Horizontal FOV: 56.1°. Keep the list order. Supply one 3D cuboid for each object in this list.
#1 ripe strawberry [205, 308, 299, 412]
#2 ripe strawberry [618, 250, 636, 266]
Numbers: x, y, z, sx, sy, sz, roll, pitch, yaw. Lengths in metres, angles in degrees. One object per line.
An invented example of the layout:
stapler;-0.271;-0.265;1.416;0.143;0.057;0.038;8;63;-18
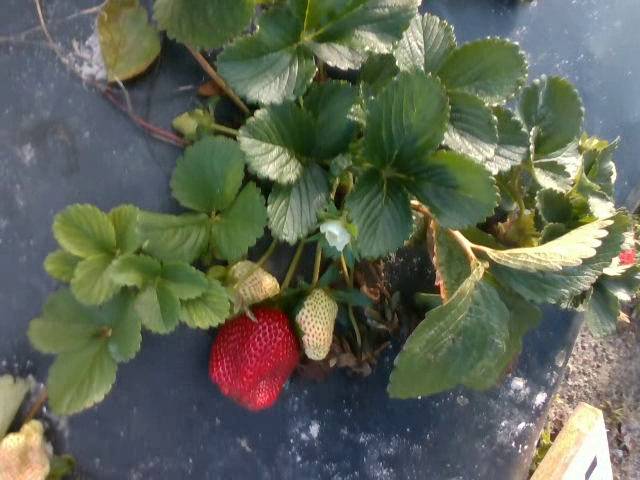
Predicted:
ripe strawberry;-0.040;0.076;0.364;0.057;0.058;0.071;1;37;26
ripe strawberry;0.235;0.010;0.459;0.050;0.048;0.034;34;-9;-39
